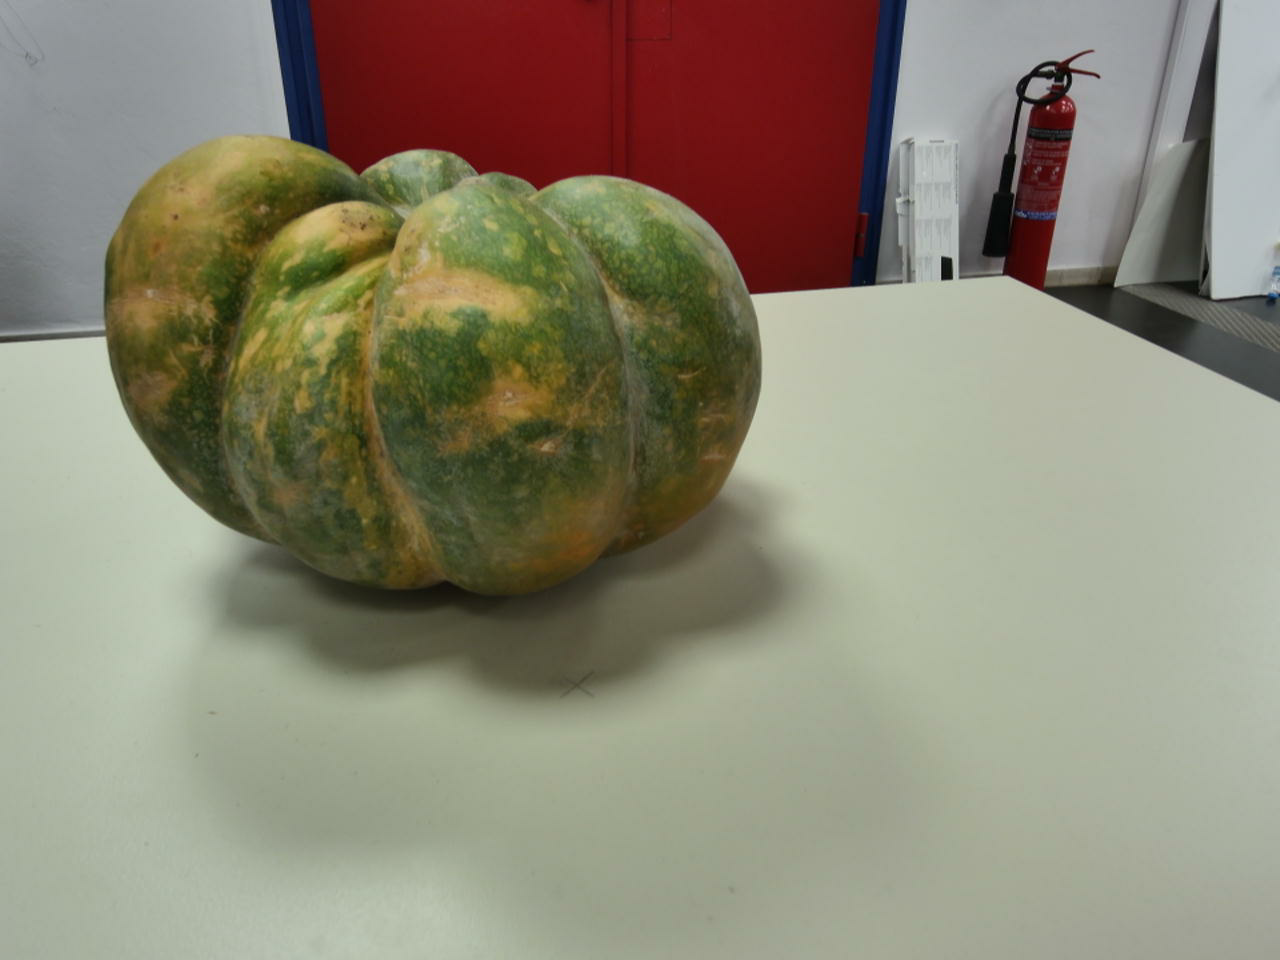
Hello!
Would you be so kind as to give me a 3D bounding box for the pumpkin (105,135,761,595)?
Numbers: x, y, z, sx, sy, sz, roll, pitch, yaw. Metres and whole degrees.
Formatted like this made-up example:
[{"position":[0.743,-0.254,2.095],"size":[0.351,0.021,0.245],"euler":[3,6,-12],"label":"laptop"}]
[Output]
[{"position":[-0.078,-0.057,0.420],"size":[0.270,0.173,0.237],"euler":[10,27,22],"label":"pumpkin"}]
